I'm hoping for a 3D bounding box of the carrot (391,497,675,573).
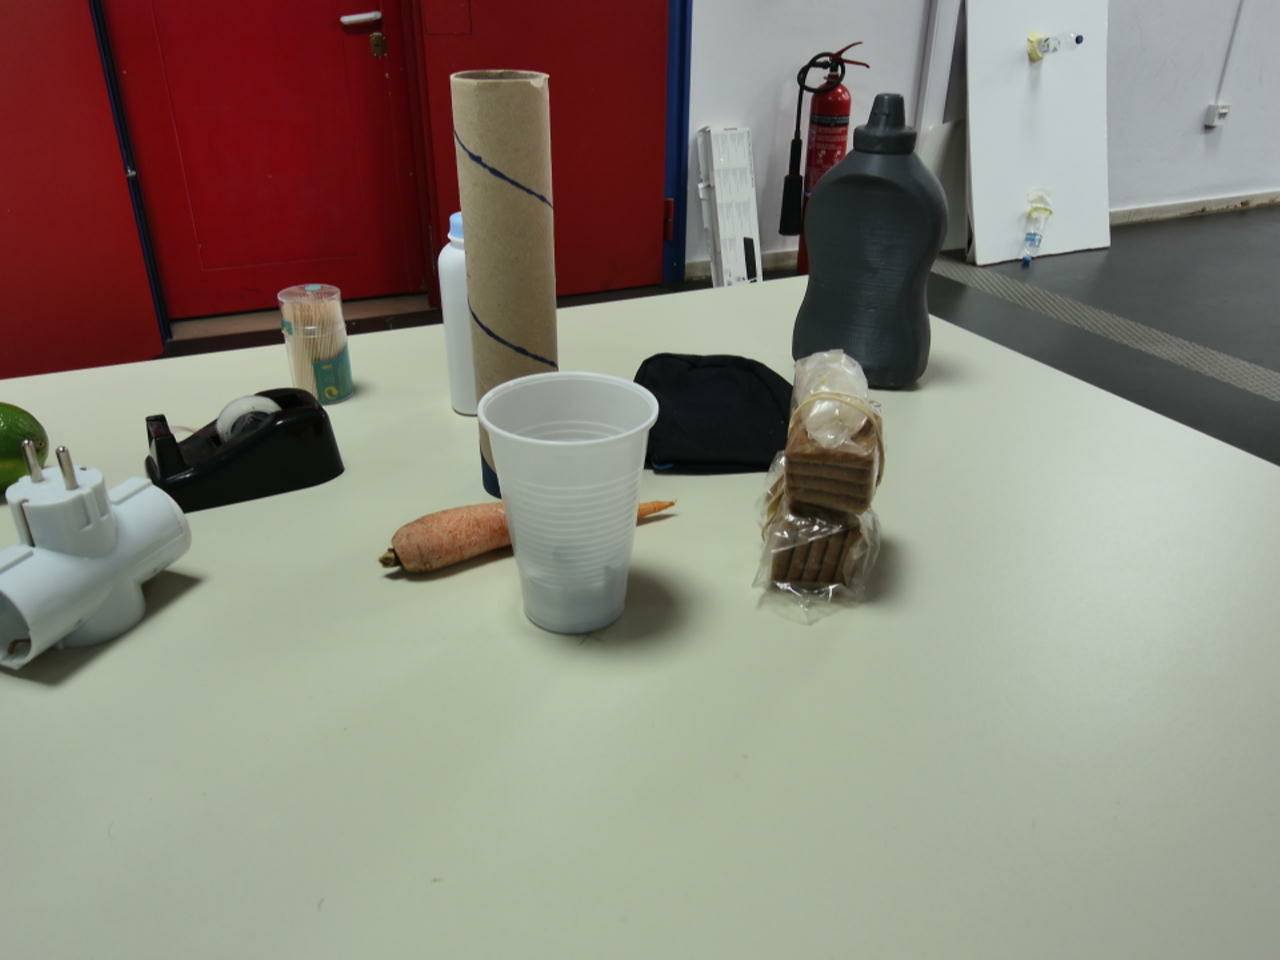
[{"bbox_3d":[-0.056,0.022,0.539,0.163,0.029,0.031,-11,28,-22],"label":"carrot"}]
